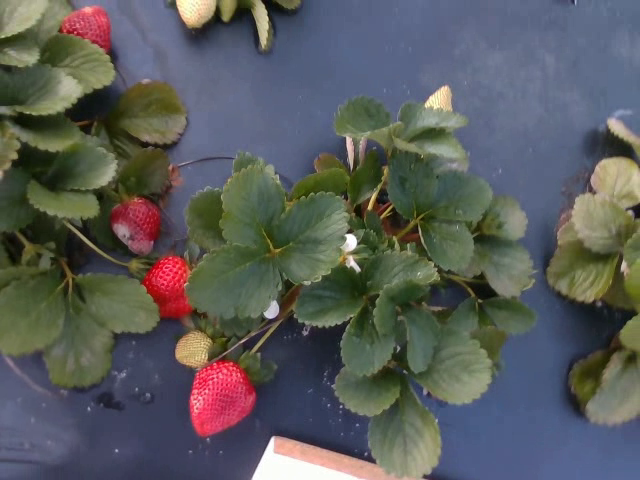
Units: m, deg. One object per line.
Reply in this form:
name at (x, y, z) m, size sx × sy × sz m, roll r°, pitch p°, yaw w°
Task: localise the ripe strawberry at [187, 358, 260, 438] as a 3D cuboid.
ripe strawberry at (-0.034, 0.055, 0.204) m, size 0.022 × 0.025 × 0.030 m, roll 15°, pitch 33°, yaw 19°
